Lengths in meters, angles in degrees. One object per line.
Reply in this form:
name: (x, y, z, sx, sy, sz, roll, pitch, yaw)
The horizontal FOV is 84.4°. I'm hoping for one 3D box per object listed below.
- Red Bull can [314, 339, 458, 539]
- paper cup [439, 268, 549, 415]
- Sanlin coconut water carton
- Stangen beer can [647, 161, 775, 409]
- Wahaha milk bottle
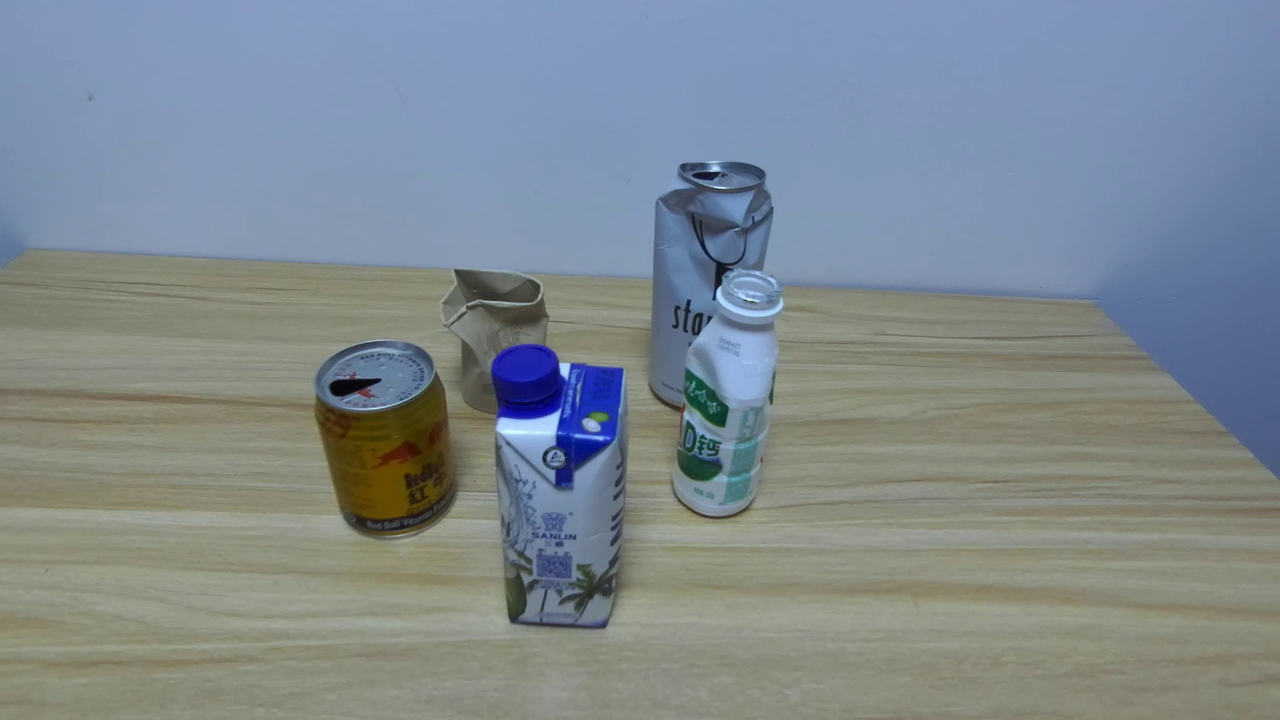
Red Bull can: (-0.137, 0.044, 0.388, 0.067, 0.093, 0.067, 3, 36, -2)
paper cup: (-0.097, -0.010, 0.476, 0.066, 0.083, 0.058, 6, 41, 5)
Sanlin coconut water carton: (-0.036, 0.061, 0.332, 0.061, 0.144, 0.060, 4, 35, -1)
Stangen beer can: (0.045, -0.048, 0.471, 0.065, 0.166, 0.066, 24, 40, 24)
Wahaha milk bottle: (0.052, 0.022, 0.390, 0.055, 0.149, 0.055, 4, 36, -3)
